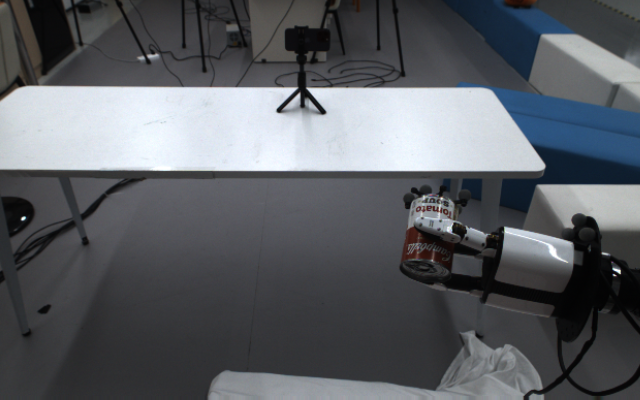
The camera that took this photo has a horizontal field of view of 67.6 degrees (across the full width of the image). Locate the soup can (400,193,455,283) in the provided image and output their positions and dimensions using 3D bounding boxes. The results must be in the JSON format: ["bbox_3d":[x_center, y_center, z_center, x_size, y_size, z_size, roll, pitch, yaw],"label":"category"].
[{"bbox_3d":[0.150,0.049,0.654,0.067,0.067,0.101,9,60,10],"label":"soup can"}]
